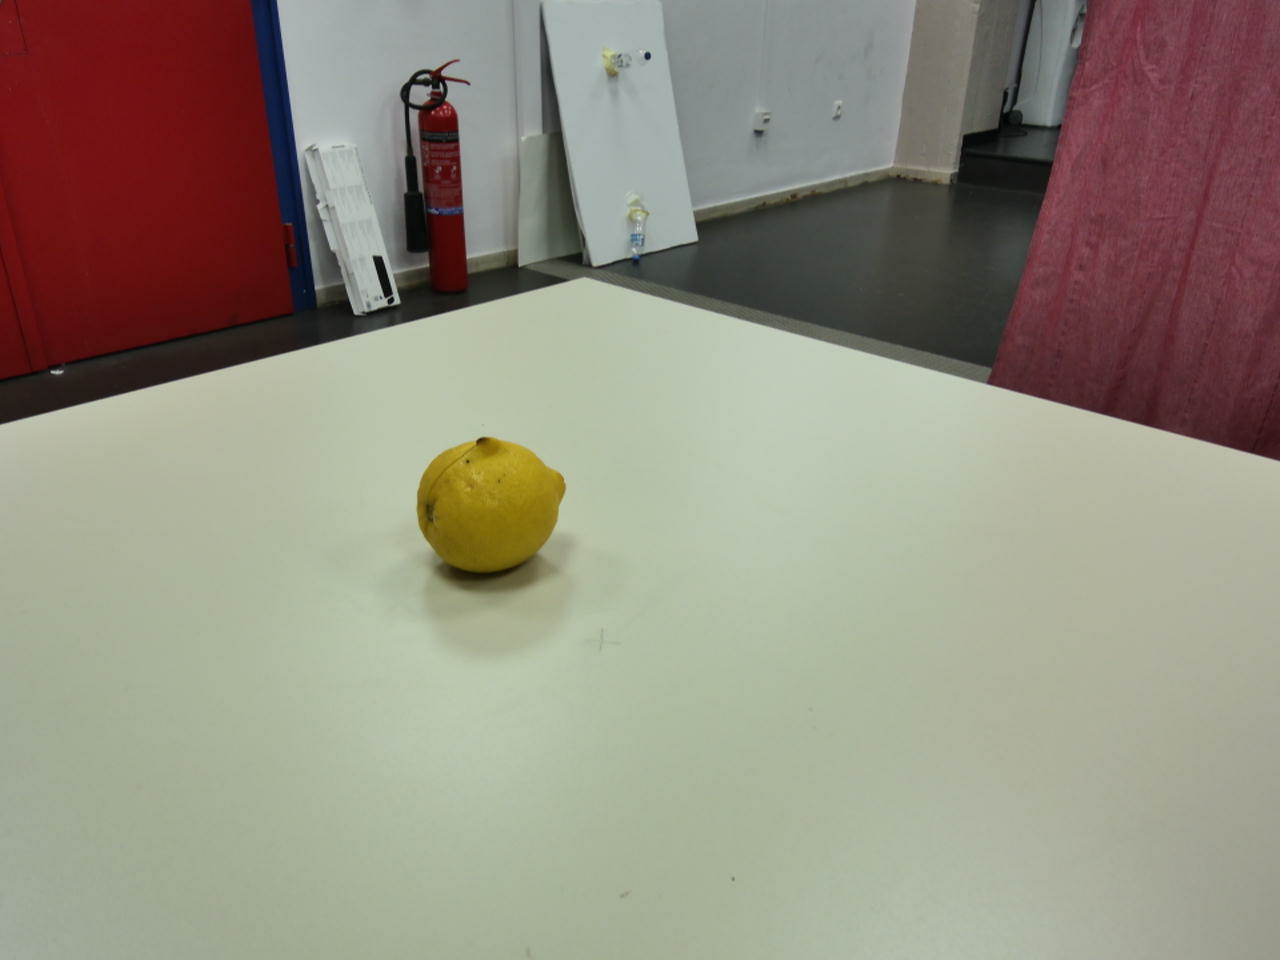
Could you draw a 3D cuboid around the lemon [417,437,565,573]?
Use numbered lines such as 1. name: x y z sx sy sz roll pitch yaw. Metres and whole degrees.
1. lemon: -0.077 0.010 0.507 0.071 0.071 0.070 3 25 6
